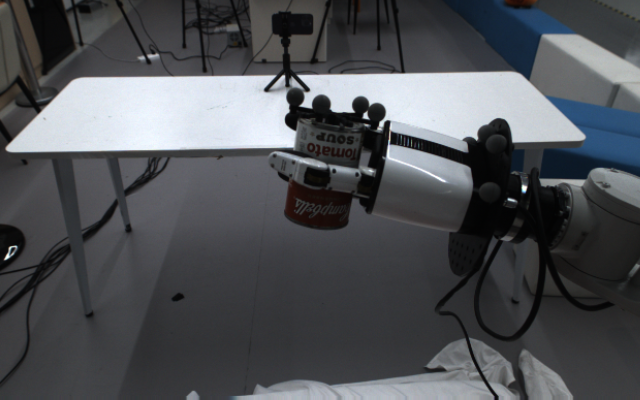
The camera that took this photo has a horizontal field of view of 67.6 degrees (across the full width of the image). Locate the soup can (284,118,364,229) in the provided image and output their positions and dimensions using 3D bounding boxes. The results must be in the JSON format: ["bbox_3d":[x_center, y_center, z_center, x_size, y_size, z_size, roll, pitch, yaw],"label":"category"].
[{"bbox_3d":[0.006,-0.029,0.483,0.067,0.101,0.067,9,19,-3],"label":"soup can"}]
